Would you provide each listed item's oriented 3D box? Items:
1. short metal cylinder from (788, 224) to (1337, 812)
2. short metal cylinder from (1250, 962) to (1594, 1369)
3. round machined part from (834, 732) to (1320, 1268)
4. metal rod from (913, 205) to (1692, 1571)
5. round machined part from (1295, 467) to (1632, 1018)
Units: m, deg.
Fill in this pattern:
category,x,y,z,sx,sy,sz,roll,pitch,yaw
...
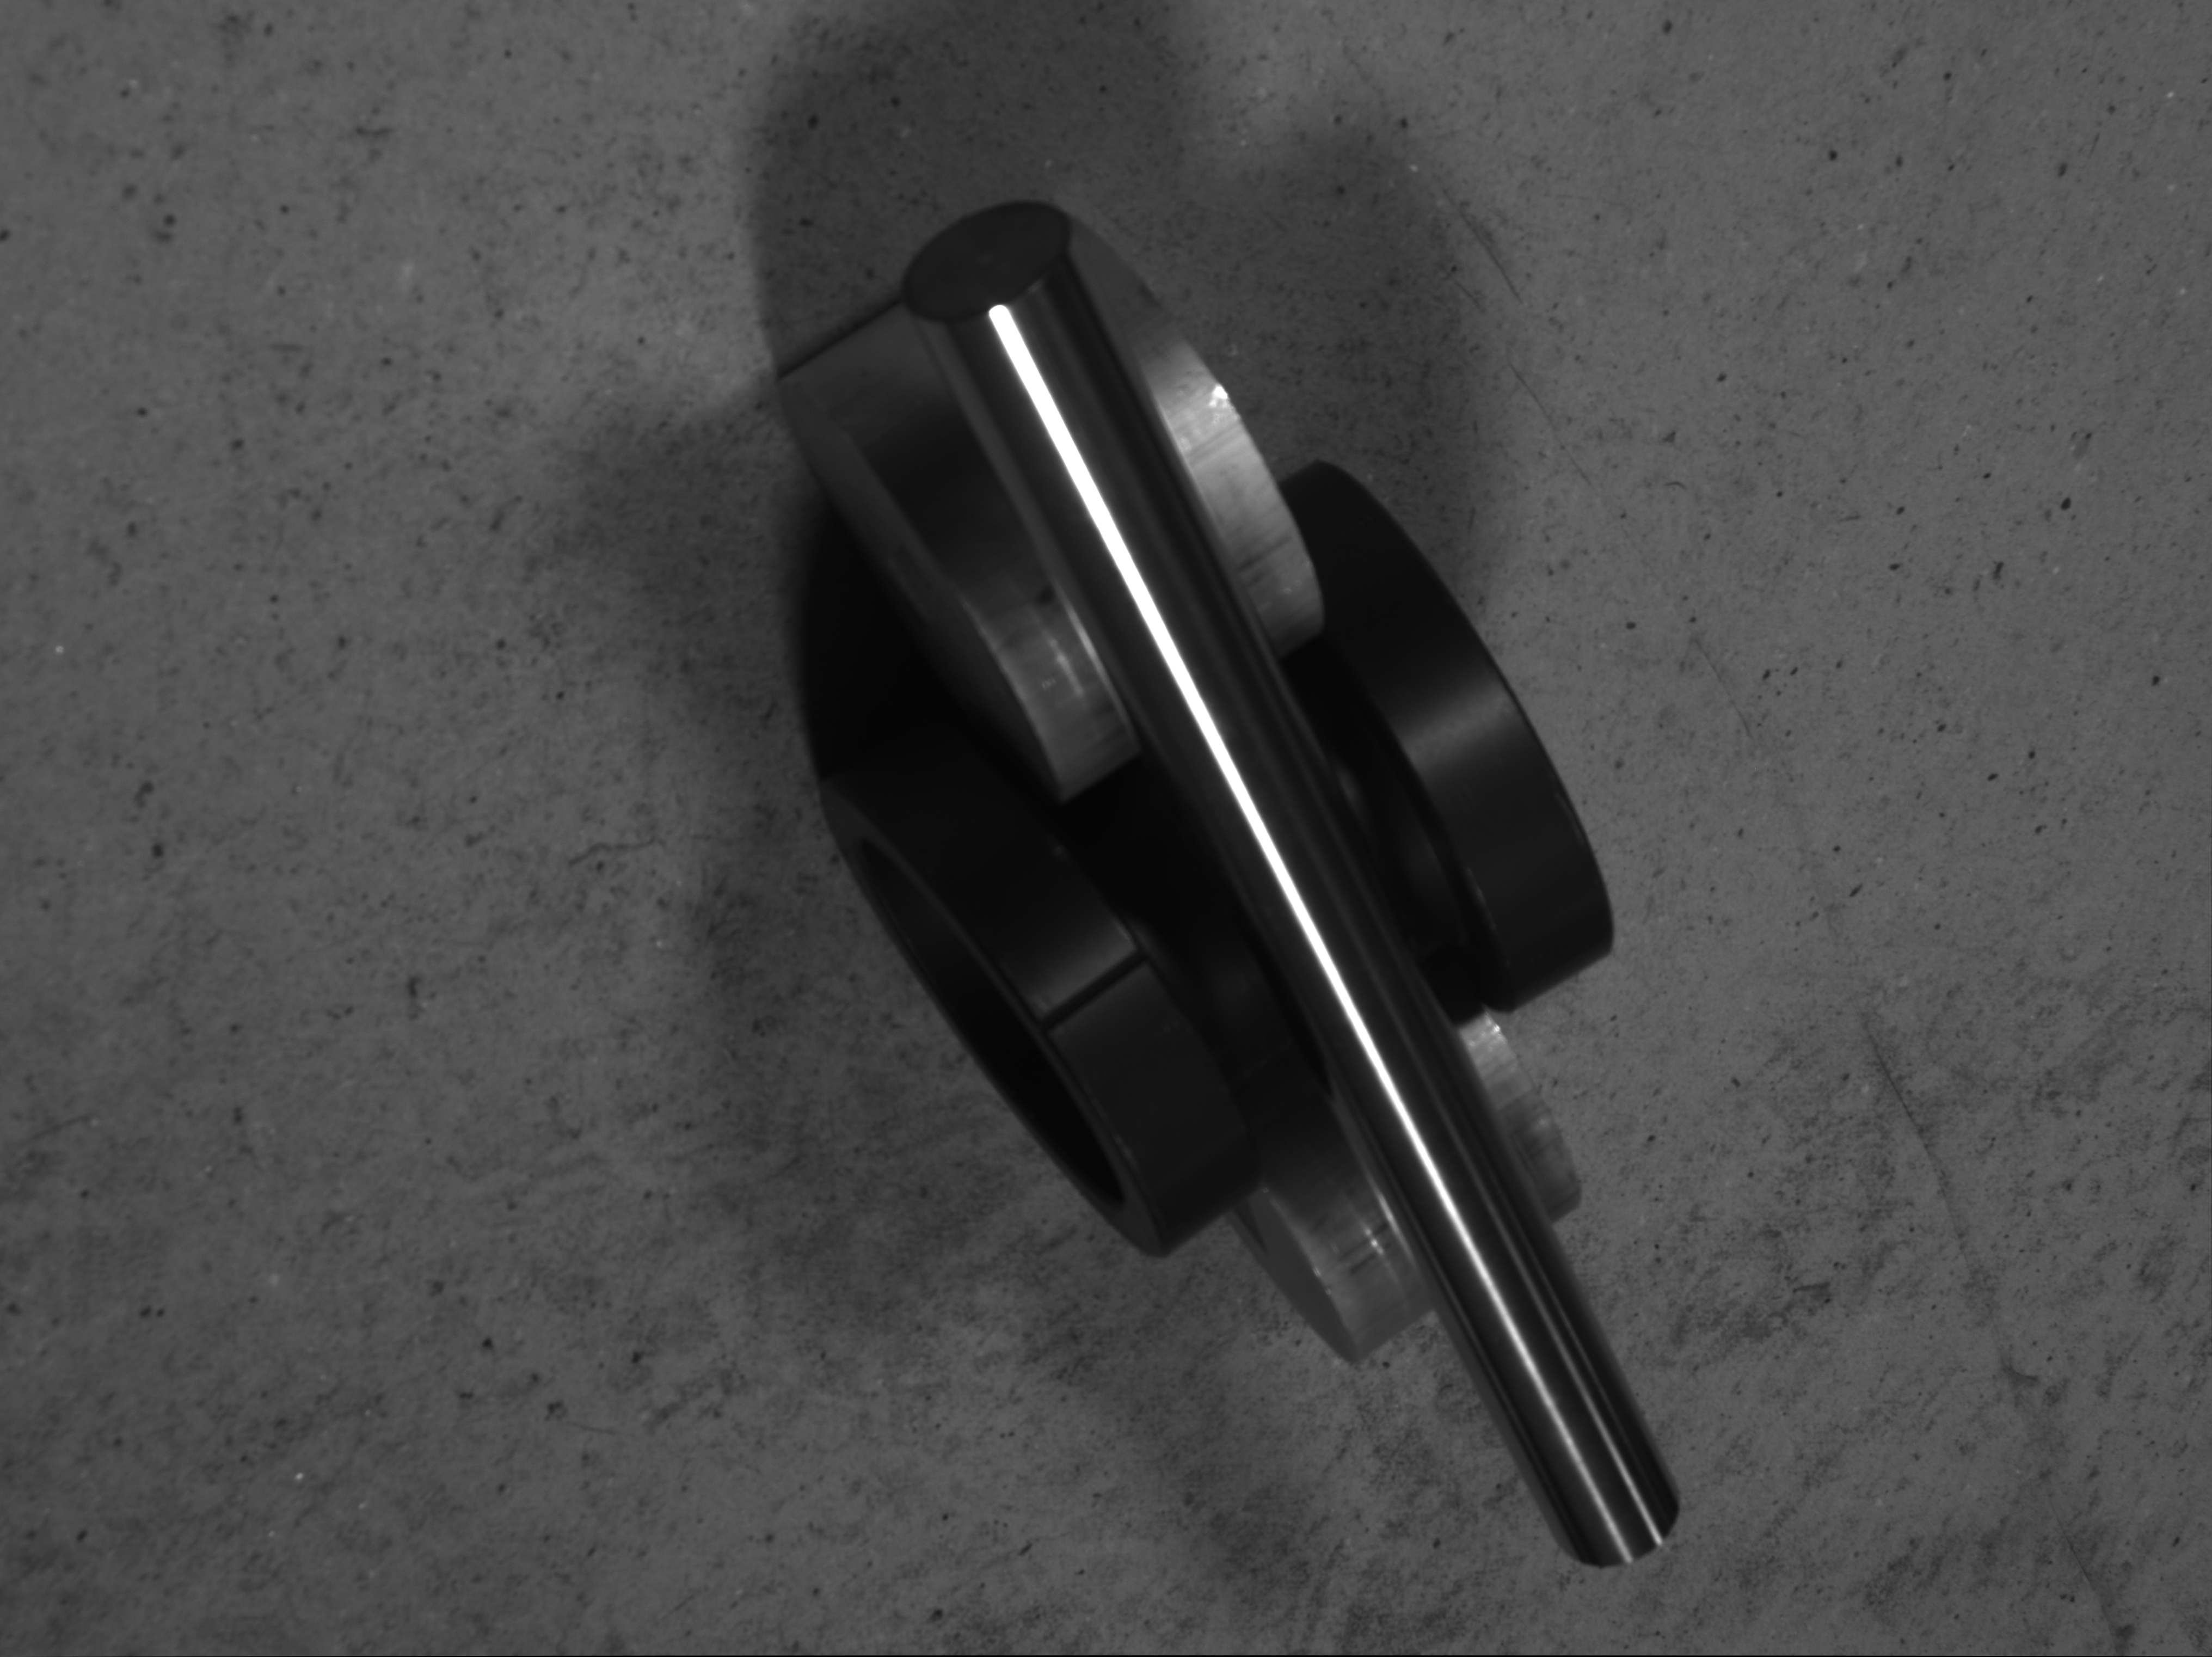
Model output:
category,x,y,z,sx,sy,sz,roll,pitch,yaw
short metal cylinder,-0.007,-0.050,0.580,0.050,0.080,0.080,-34,130,-8
short metal cylinder,0.045,0.052,0.673,0.050,0.080,0.080,-34,130,-8
round machined part,0.000,0.023,0.616,0.042,0.098,0.098,-37,130,-11
metal rod,0.041,0.026,0.587,0.025,0.025,0.301,-35,130,-7
round machined part,0.045,-0.009,0.624,0.042,0.098,0.098,-31,129,-4
